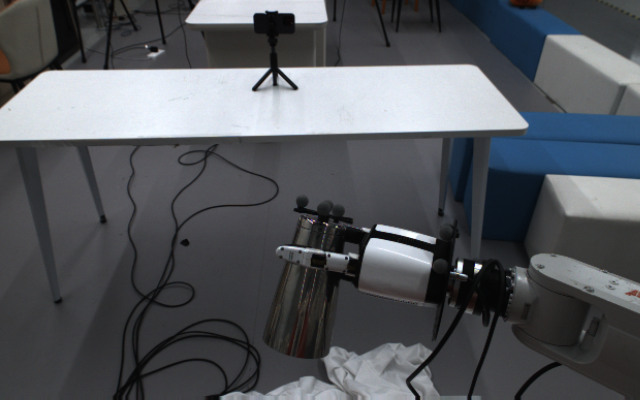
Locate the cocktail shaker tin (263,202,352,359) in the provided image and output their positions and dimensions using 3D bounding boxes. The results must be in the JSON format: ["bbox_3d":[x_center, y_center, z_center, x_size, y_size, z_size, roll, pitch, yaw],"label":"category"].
[{"bbox_3d":[-0.012,0.109,0.648,0.093,0.170,0.093,12,3,-1],"label":"cocktail shaker tin"}]
